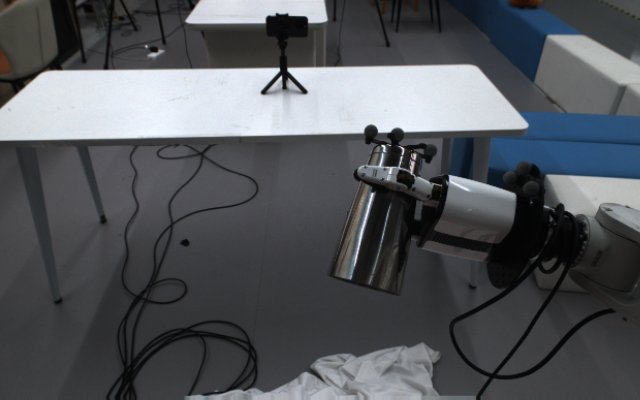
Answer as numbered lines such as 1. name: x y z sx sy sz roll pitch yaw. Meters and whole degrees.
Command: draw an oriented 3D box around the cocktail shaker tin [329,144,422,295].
1. cocktail shaker tin: 0.078 0.020 0.598 0.093 0.093 0.170 13 79 15
